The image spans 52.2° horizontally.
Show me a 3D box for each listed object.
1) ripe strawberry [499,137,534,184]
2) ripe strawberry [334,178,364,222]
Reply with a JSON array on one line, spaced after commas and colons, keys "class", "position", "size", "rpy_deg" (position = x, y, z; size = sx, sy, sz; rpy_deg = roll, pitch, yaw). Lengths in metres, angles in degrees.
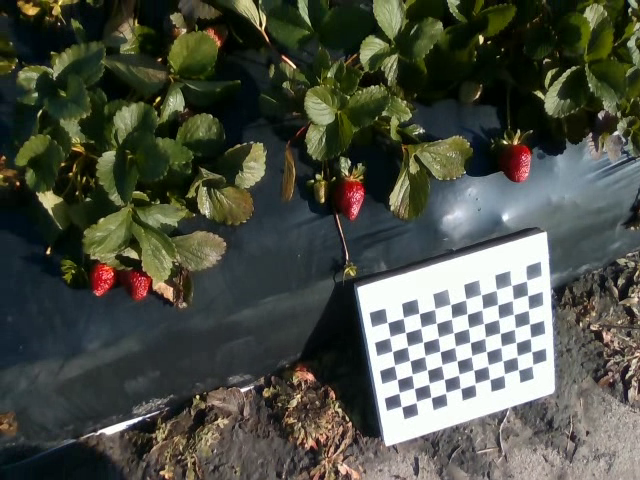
[{"class": "ripe strawberry", "position": [0.235, -0.085, 0.771], "size": [0.043, 0.050, 0.043], "rpy_deg": [18, -34, -23]}, {"class": "ripe strawberry", "position": [0.034, -0.046, 0.742], "size": [0.042, 0.053, 0.043], "rpy_deg": [-5, -23, -16]}]
